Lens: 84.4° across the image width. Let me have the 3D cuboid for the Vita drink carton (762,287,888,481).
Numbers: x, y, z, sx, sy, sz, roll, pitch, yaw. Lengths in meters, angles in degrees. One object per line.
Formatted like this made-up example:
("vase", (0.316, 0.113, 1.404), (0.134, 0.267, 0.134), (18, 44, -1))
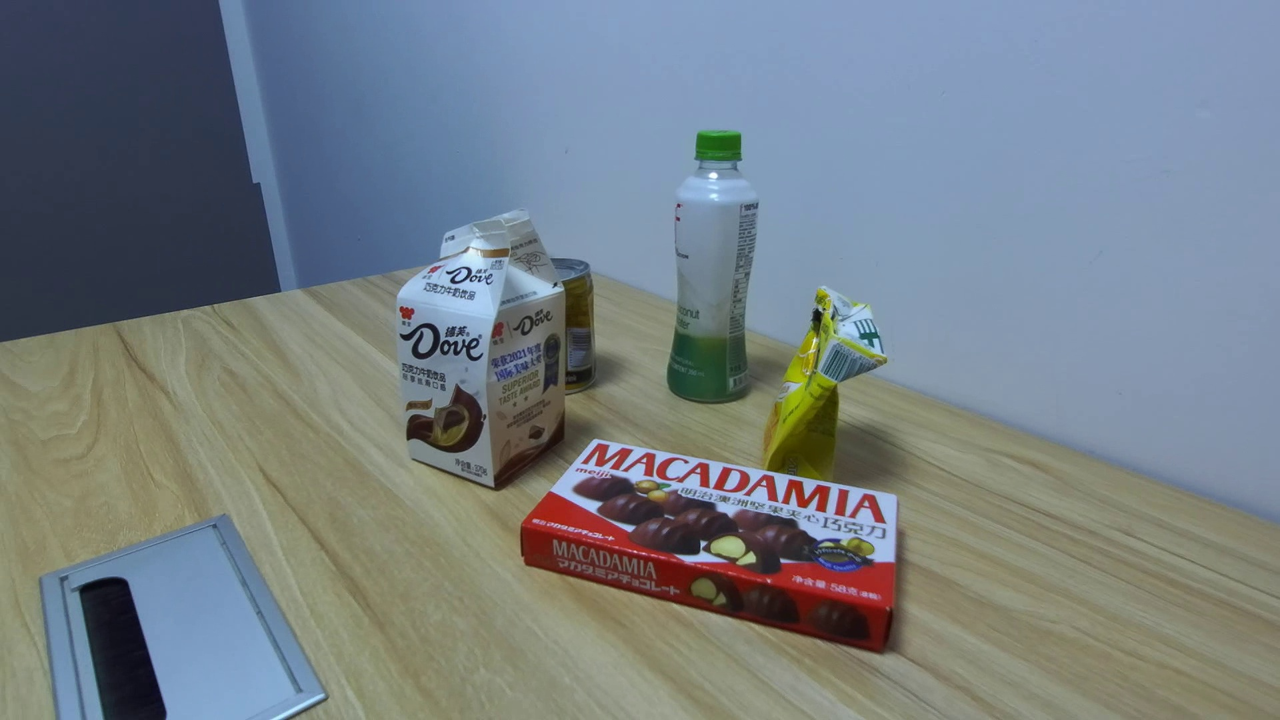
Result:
("Vita drink carton", (0.110, 0.019, 0.425), (0.042, 0.108, 0.087), (17, 27, 4))

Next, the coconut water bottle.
("coconut water bottle", (0.053, -0.065, 0.512), (0.063, 0.188, 0.063), (1, 21, 0))

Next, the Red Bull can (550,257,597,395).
("Red Bull can", (-0.068, -0.027, 0.544), (0.072, 0.092, 0.072), (2, 23, -1))

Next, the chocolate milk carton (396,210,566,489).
("chocolate milk carton", (-0.096, -0.013, 0.432), (0.076, 0.155, 0.074), (13, 25, 27))

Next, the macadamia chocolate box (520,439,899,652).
("macadamia chocolate box", (0.039, 0.088, 0.366), (0.177, 0.027, 0.096), (9, 24, 18))
